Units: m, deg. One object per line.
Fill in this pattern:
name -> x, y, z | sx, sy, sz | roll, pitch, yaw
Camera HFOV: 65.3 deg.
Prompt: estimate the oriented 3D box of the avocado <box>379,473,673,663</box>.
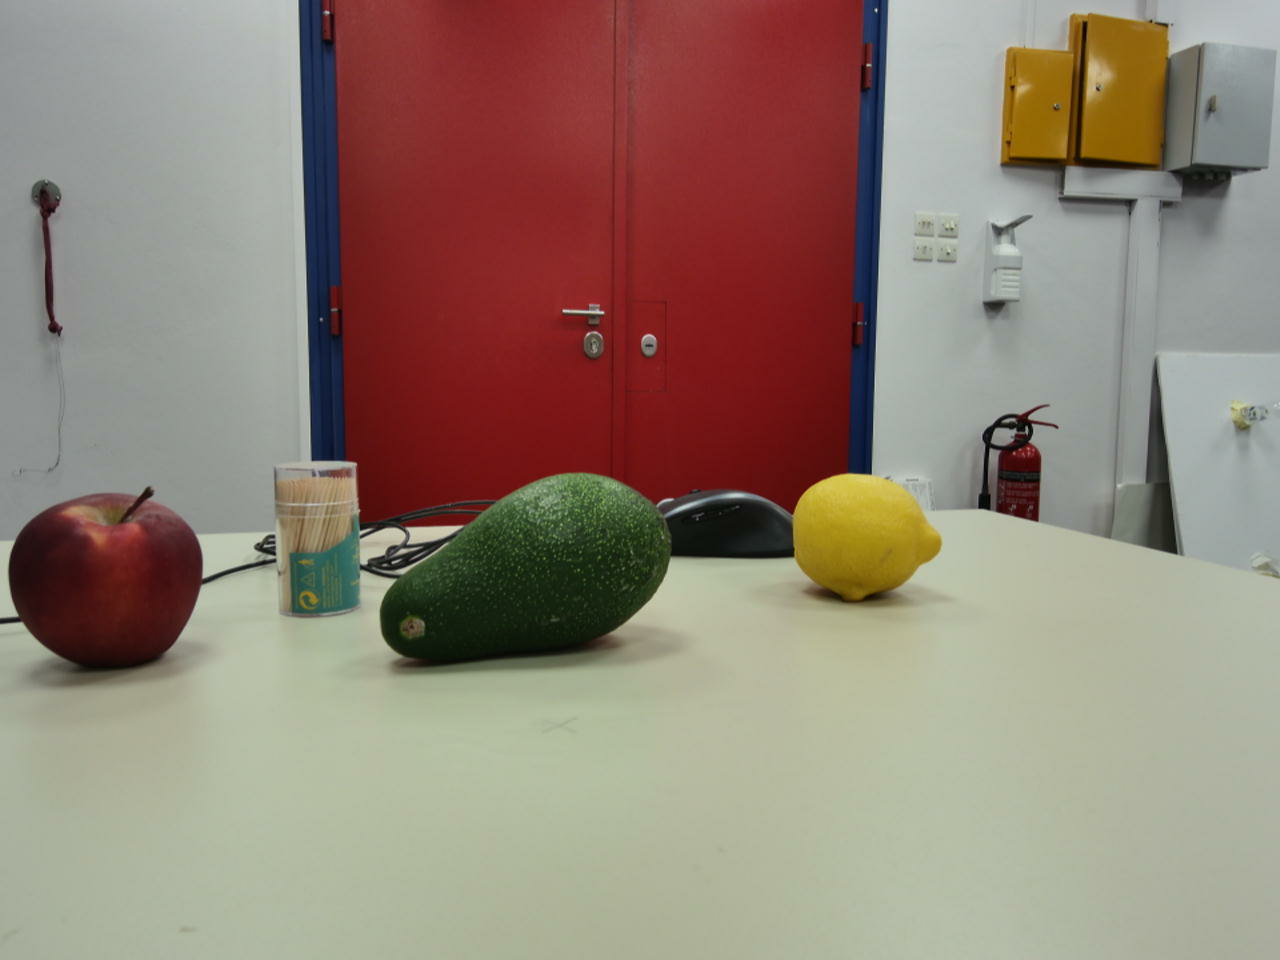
avocado -> -0.047, 0.035, 0.433 | 0.123, 0.076, 0.074 | -1, 4, -7
